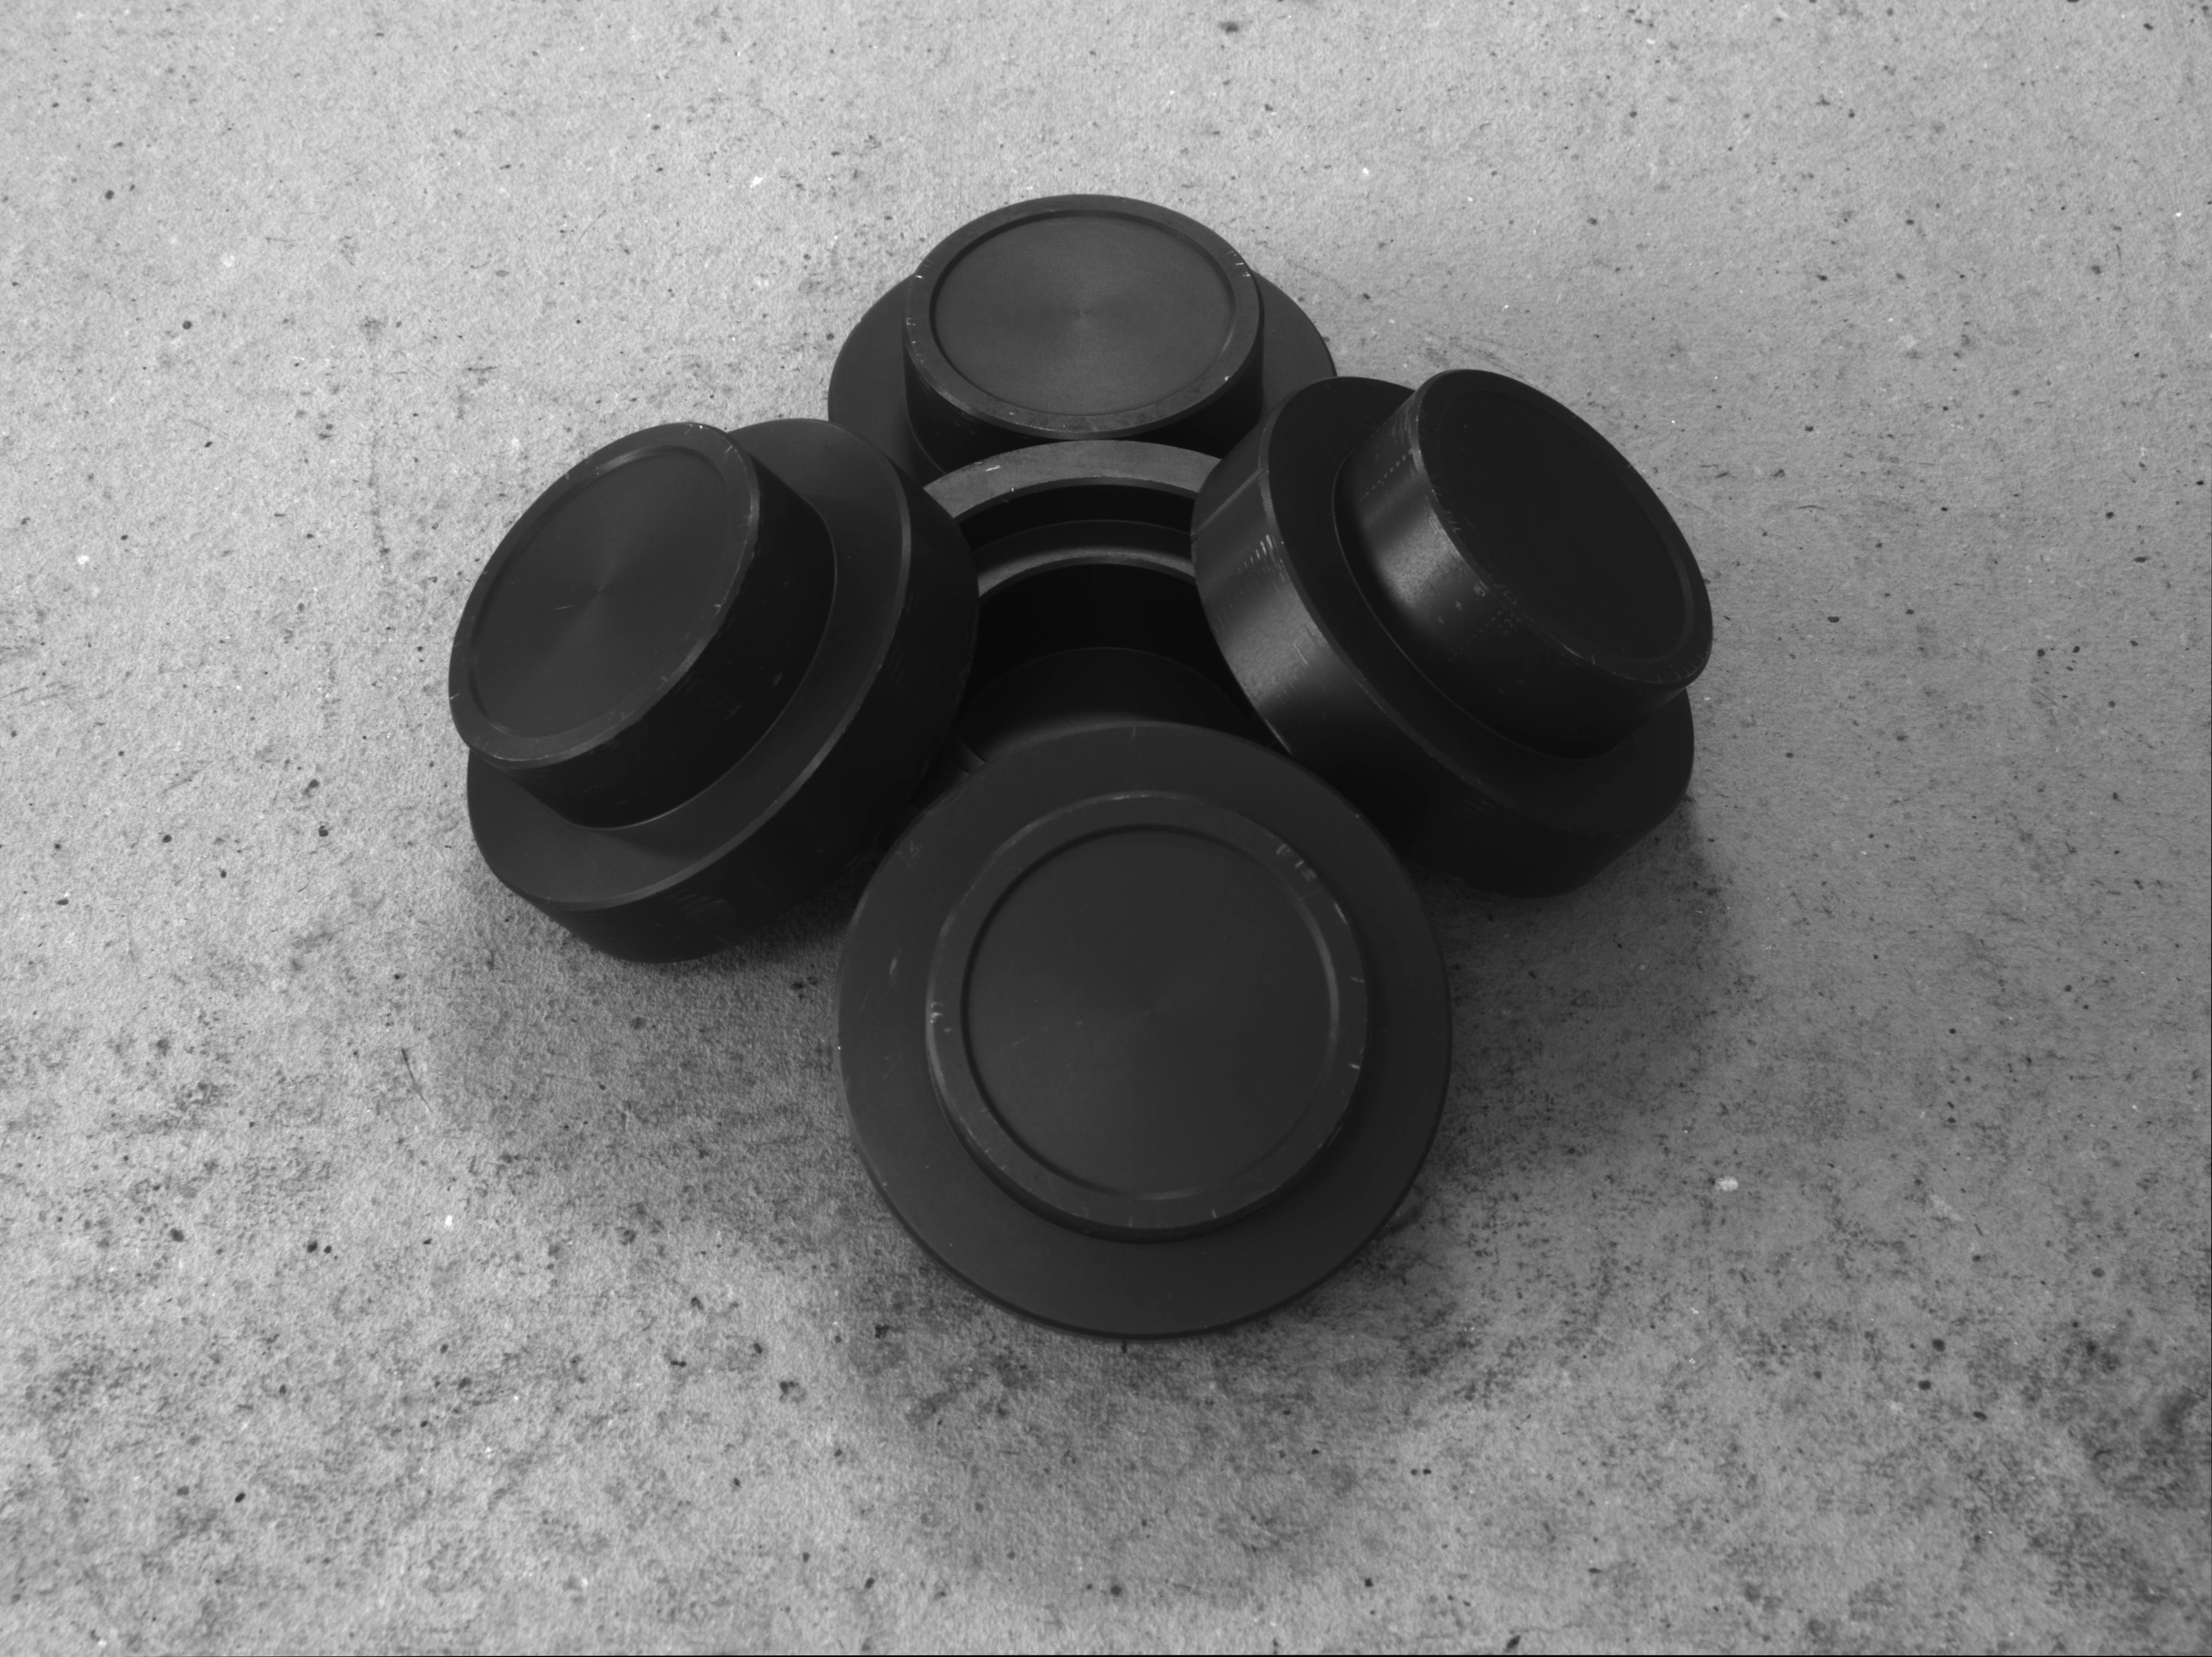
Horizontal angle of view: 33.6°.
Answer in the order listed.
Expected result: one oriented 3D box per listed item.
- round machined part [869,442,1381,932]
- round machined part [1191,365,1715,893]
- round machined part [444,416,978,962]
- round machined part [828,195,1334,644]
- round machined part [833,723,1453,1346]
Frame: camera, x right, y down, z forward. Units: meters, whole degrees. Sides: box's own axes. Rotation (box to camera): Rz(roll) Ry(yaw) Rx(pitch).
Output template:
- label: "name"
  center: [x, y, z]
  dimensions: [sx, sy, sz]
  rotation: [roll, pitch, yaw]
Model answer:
- label: "round machined part"
  center: [0.000, -0.020, 0.648]
  dimensions: [0.098, 0.042, 0.098]
  rotation: [-1, 49, 2]
- label: "round machined part"
  center: [0.066, -0.041, 0.632]
  dimensions: [0.098, 0.042, 0.098]
  rotation: [27, 40, -25]
- label: "round machined part"
  center: [-0.073, -0.030, 0.625]
  dimensions: [0.098, 0.042, 0.098]
  rotation: [-21, 49, 27]
- label: "round machined part"
  center: [-0.004, -0.084, 0.701]
  dimensions: [0.098, 0.042, 0.098]
  rotation: [0, 48, 0]
- label: "round machined part"
  center: [0.006, 0.031, 0.576]
  dimensions: [0.098, 0.042, 0.098]
  rotation: [0, 80, -2]
